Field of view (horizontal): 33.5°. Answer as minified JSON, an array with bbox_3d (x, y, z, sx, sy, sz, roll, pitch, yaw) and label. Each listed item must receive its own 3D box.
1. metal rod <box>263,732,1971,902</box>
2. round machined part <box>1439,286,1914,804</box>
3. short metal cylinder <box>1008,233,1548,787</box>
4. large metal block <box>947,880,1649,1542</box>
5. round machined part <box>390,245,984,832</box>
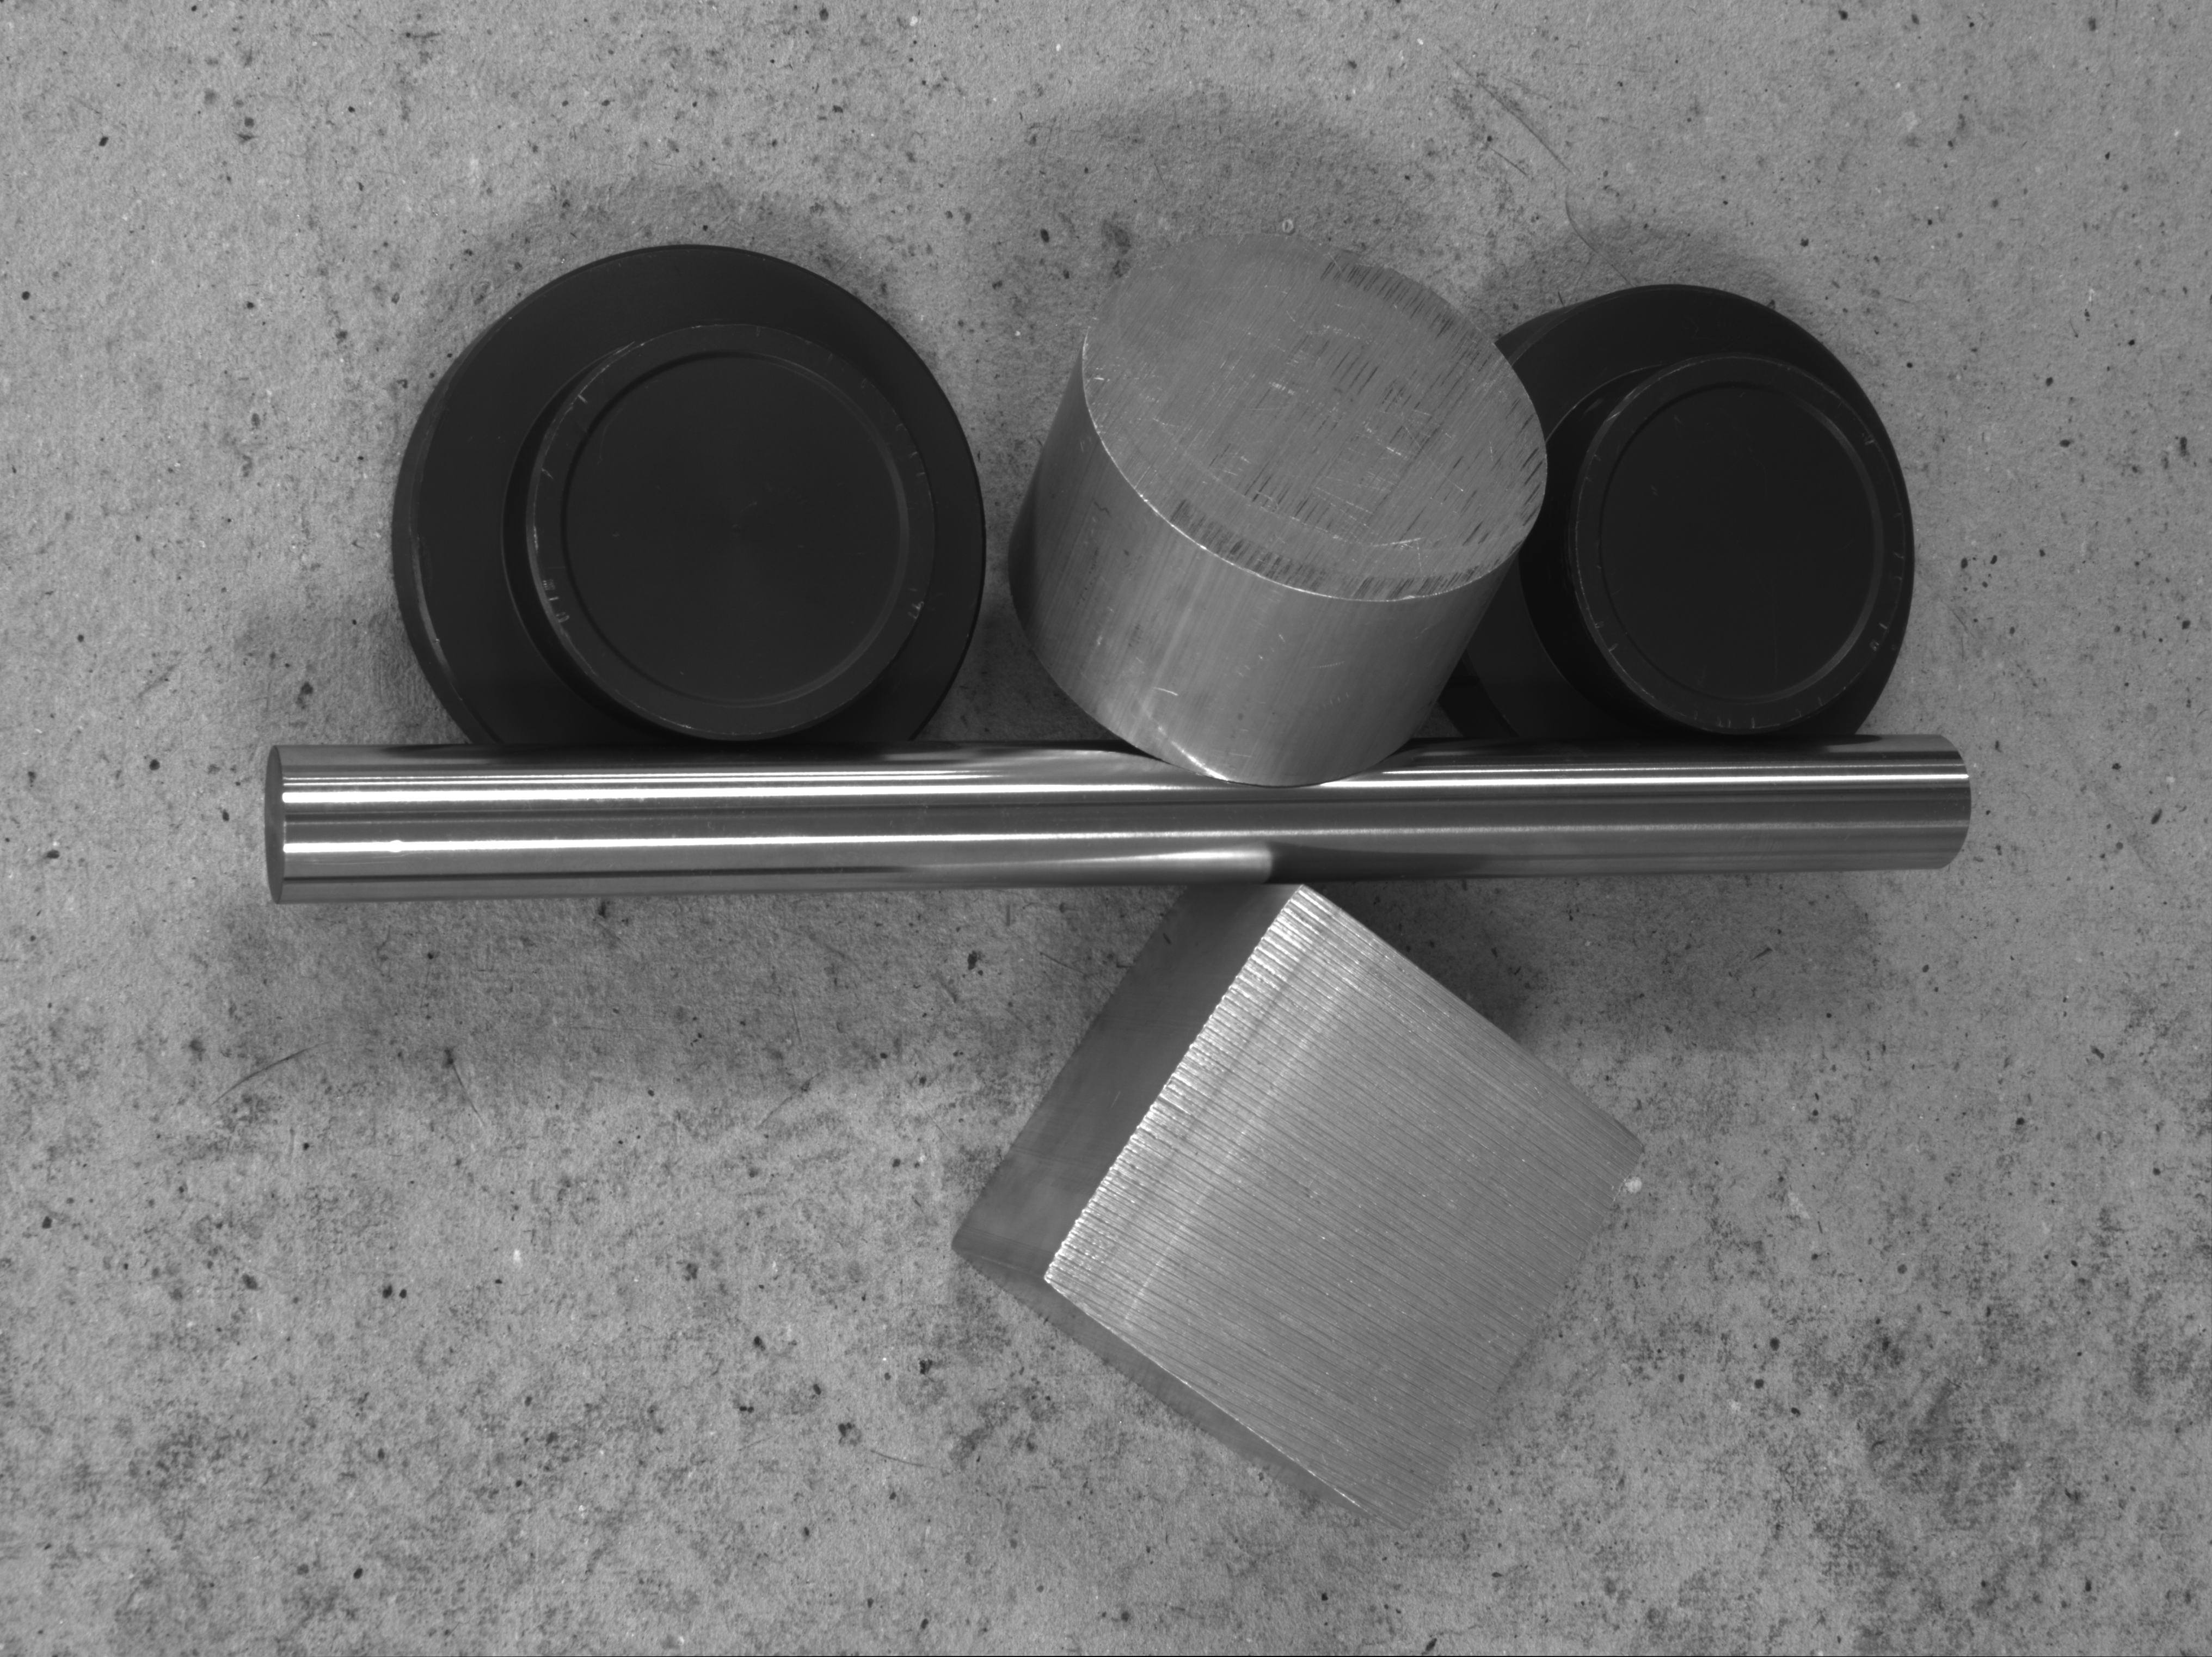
[{"bbox_3d":[0.011,-0.003,0.625,0.301,0.025,0.025,-1,90,-20],"label":"metal rod"},{"bbox_3d":[0.106,-0.051,0.673,0.098,0.042,0.098,0,90,-20],"label":"round machined part"},{"bbox_3d":[0.028,-0.054,0.621,0.080,0.050,0.080,10,52,-12],"label":"short metal cylinder"},{"bbox_3d":[0.033,0.065,0.640,0.080,0.050,0.080,37,78,-16],"label":"large metal block"},{"bbox_3d":[-0.067,-0.048,0.610,0.098,0.042,0.098,0,90,-20],"label":"round machined part"}]
